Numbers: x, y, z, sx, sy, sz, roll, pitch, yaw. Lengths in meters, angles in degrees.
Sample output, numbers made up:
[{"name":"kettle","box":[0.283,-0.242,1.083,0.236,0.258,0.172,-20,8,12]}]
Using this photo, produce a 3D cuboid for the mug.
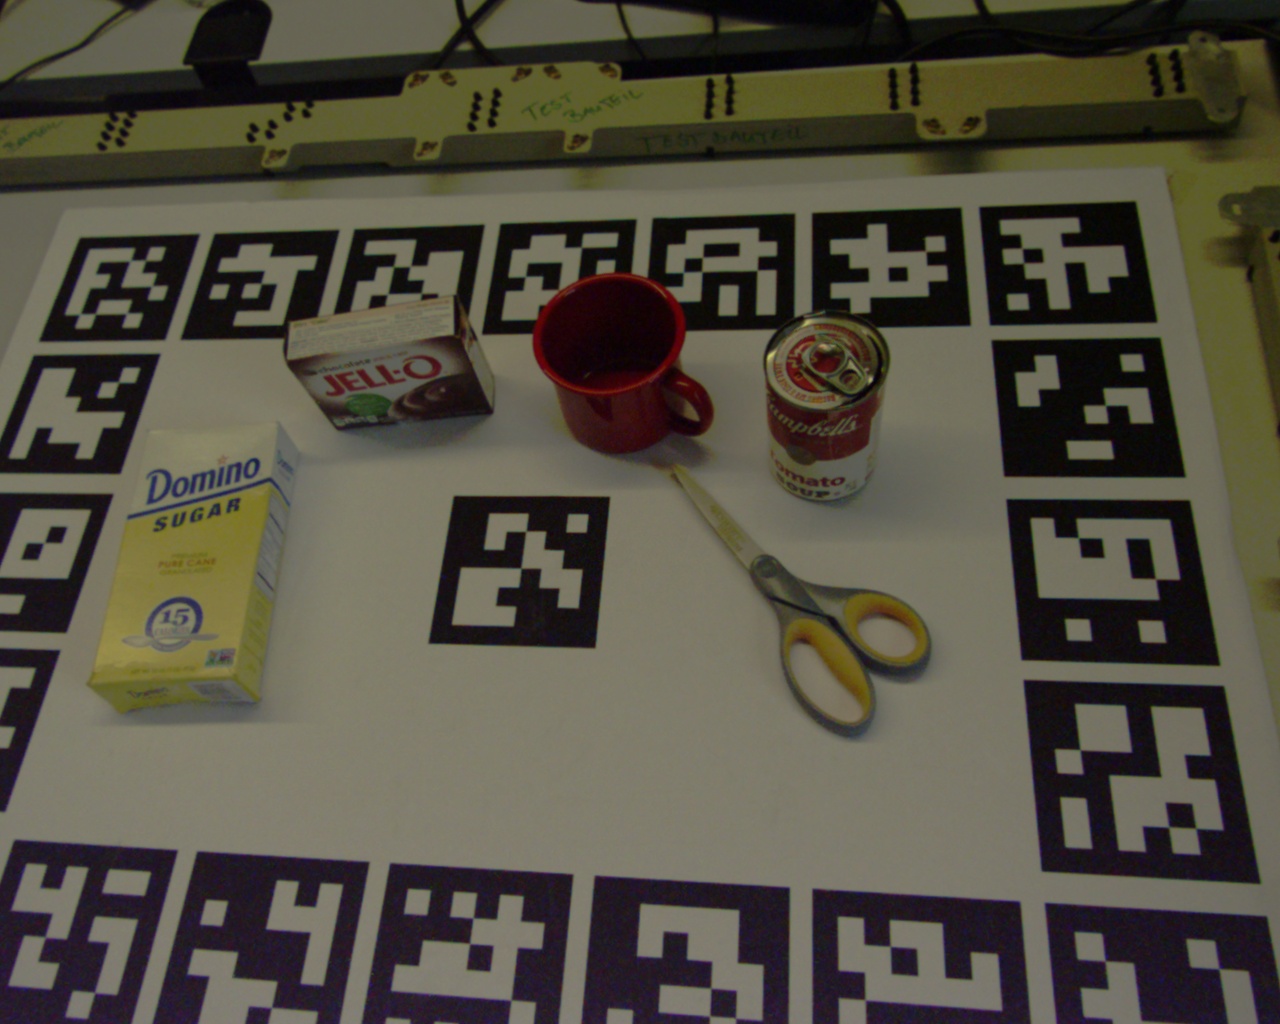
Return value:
[{"name":"mug","box":[-0.007,-0.086,0.740,0.093,0.081,0.118,-33,62,-6]}]

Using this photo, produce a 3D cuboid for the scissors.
[{"name":"scissors","box":[0.079,0.050,0.692,0.087,0.016,0.205,-41,65,-2]}]

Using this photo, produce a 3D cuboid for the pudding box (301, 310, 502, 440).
[{"name":"pudding box","box":[-0.156,-0.090,0.757,0.114,0.089,0.039,-8,69,4]}]

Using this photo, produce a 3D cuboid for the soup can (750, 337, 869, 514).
[{"name":"soup can","box":[0.104,-0.051,0.701,0.068,0.101,0.068,-4,62,7]}]

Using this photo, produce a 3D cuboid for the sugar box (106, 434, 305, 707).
[{"name":"sugar box","box":[-0.281,0.036,0.746,0.093,0.045,0.177,-3,64,9]}]
